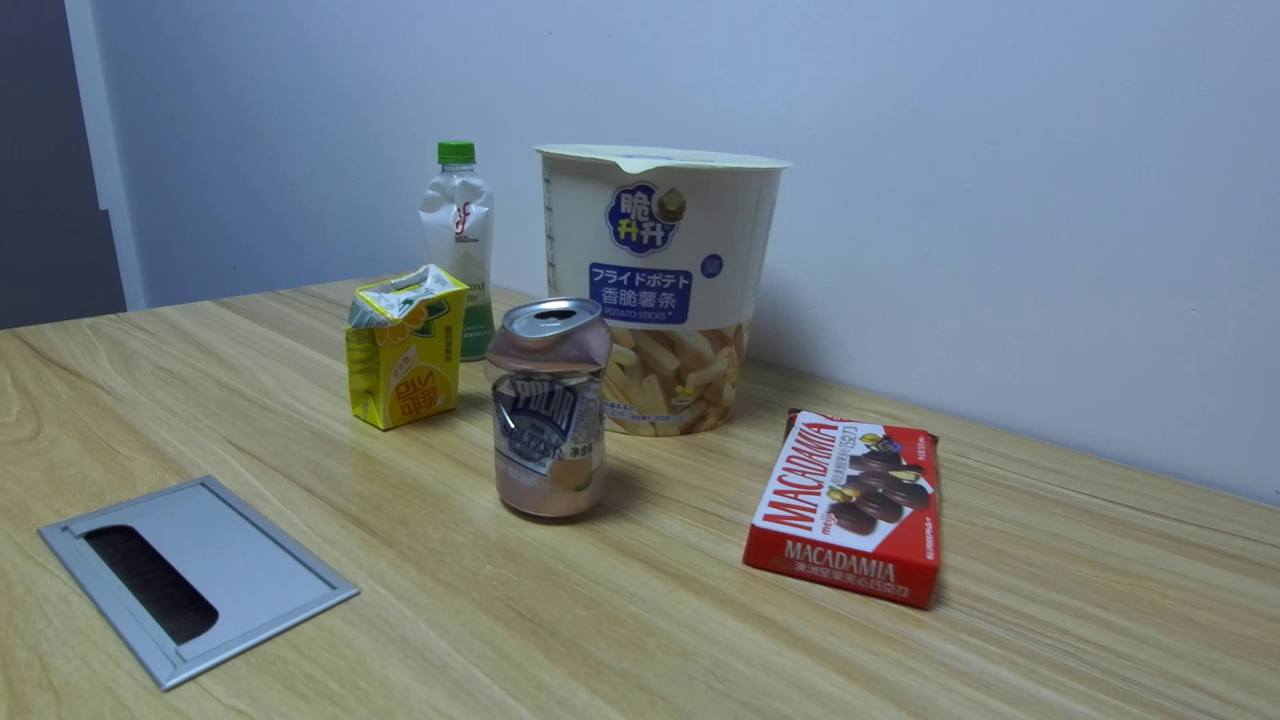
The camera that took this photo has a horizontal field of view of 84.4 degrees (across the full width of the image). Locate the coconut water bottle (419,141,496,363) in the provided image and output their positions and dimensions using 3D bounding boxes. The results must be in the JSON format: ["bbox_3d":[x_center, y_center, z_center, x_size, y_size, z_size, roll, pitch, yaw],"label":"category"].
[{"bbox_3d":[-0.157,-0.096,0.633,0.069,0.186,0.069,2,23,-1],"label":"coconut water bottle"}]

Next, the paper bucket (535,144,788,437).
[{"bbox_3d":[0.013,-0.058,0.545,0.198,0.194,0.198,3,19,-1],"label":"paper bucket"}]

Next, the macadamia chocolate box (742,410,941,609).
[{"bbox_3d":[0.130,0.077,0.432,0.105,0.028,0.183,10,20,17],"label":"macadamia chocolate box"}]

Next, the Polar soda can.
[{"bbox_3d":[-0.053,0.029,0.401,0.071,0.122,0.066,1,25,-6],"label":"Polar soda can"}]

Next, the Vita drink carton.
[{"bbox_3d":[-0.163,-0.006,0.502,0.042,0.108,0.087,33,35,29],"label":"Vita drink carton"}]
